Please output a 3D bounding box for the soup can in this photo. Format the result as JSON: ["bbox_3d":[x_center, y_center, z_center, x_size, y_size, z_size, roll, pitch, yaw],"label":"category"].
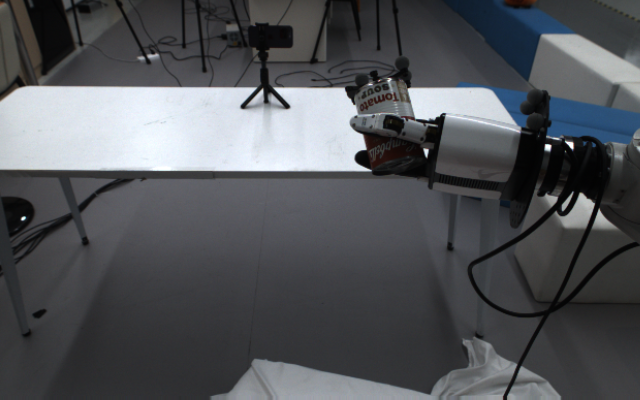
[{"bbox_3d":[0.087,-0.090,0.594,0.067,0.067,0.101,-11,80,-19],"label":"soup can"}]
